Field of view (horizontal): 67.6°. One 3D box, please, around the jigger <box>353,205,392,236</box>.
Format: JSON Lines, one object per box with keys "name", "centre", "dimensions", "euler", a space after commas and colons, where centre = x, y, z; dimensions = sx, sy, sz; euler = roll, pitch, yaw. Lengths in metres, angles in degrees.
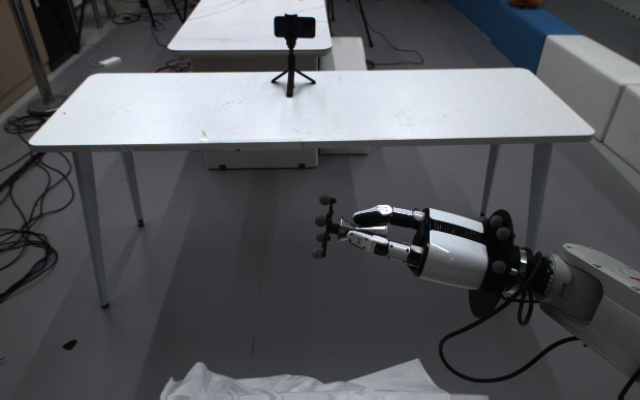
{"name": "jigger", "centre": [0.068, 0.046, 0.706], "dimensions": [0.071, 0.043, 0.043], "euler": [10, 35, 4]}
